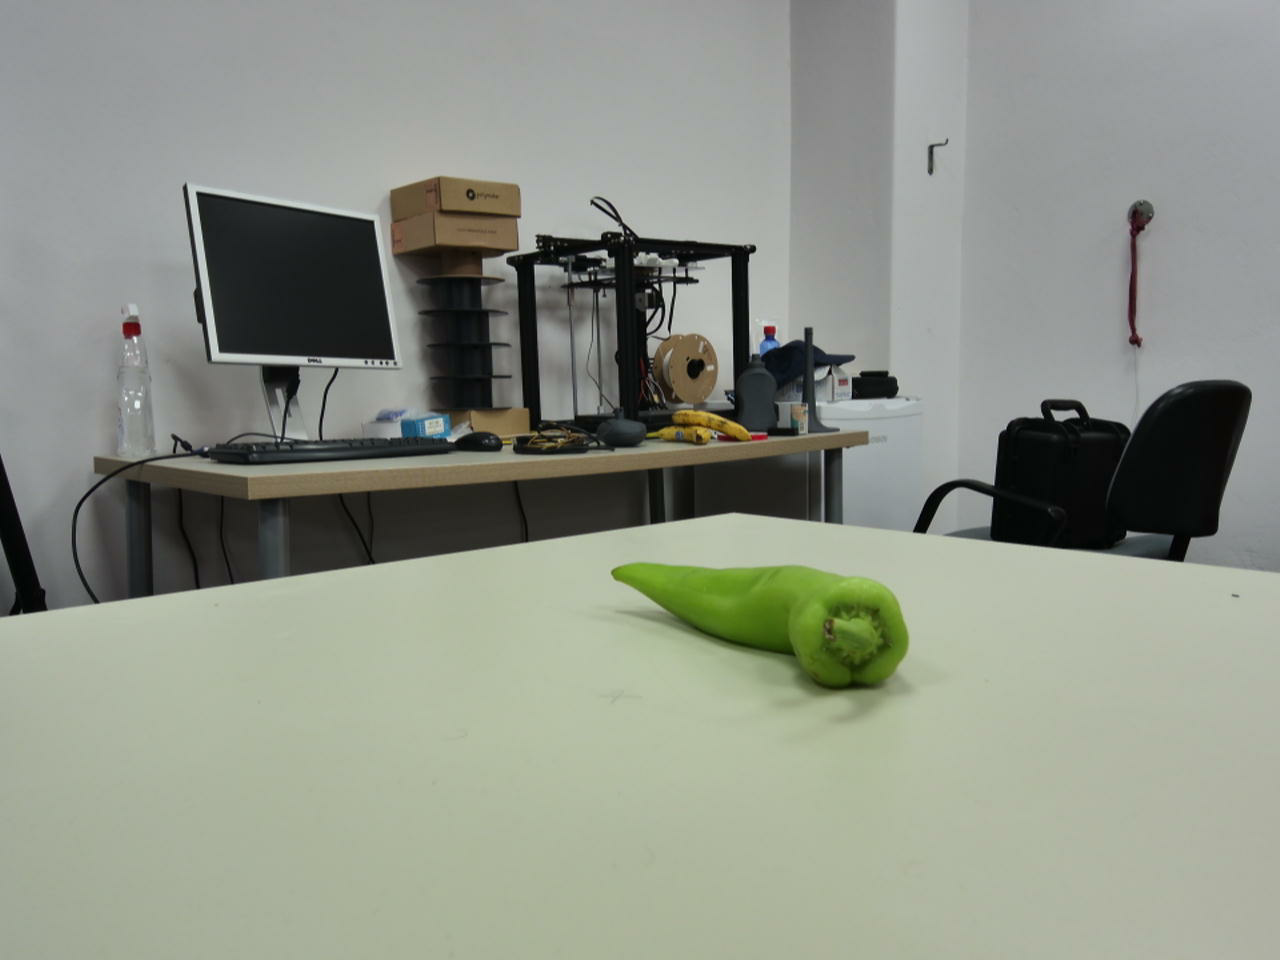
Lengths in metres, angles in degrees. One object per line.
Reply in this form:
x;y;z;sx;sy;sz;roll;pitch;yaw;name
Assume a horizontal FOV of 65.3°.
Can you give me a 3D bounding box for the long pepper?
0.056;0.058;0.476;0.065;0.045;0.205;-1;4;-24;long pepper
